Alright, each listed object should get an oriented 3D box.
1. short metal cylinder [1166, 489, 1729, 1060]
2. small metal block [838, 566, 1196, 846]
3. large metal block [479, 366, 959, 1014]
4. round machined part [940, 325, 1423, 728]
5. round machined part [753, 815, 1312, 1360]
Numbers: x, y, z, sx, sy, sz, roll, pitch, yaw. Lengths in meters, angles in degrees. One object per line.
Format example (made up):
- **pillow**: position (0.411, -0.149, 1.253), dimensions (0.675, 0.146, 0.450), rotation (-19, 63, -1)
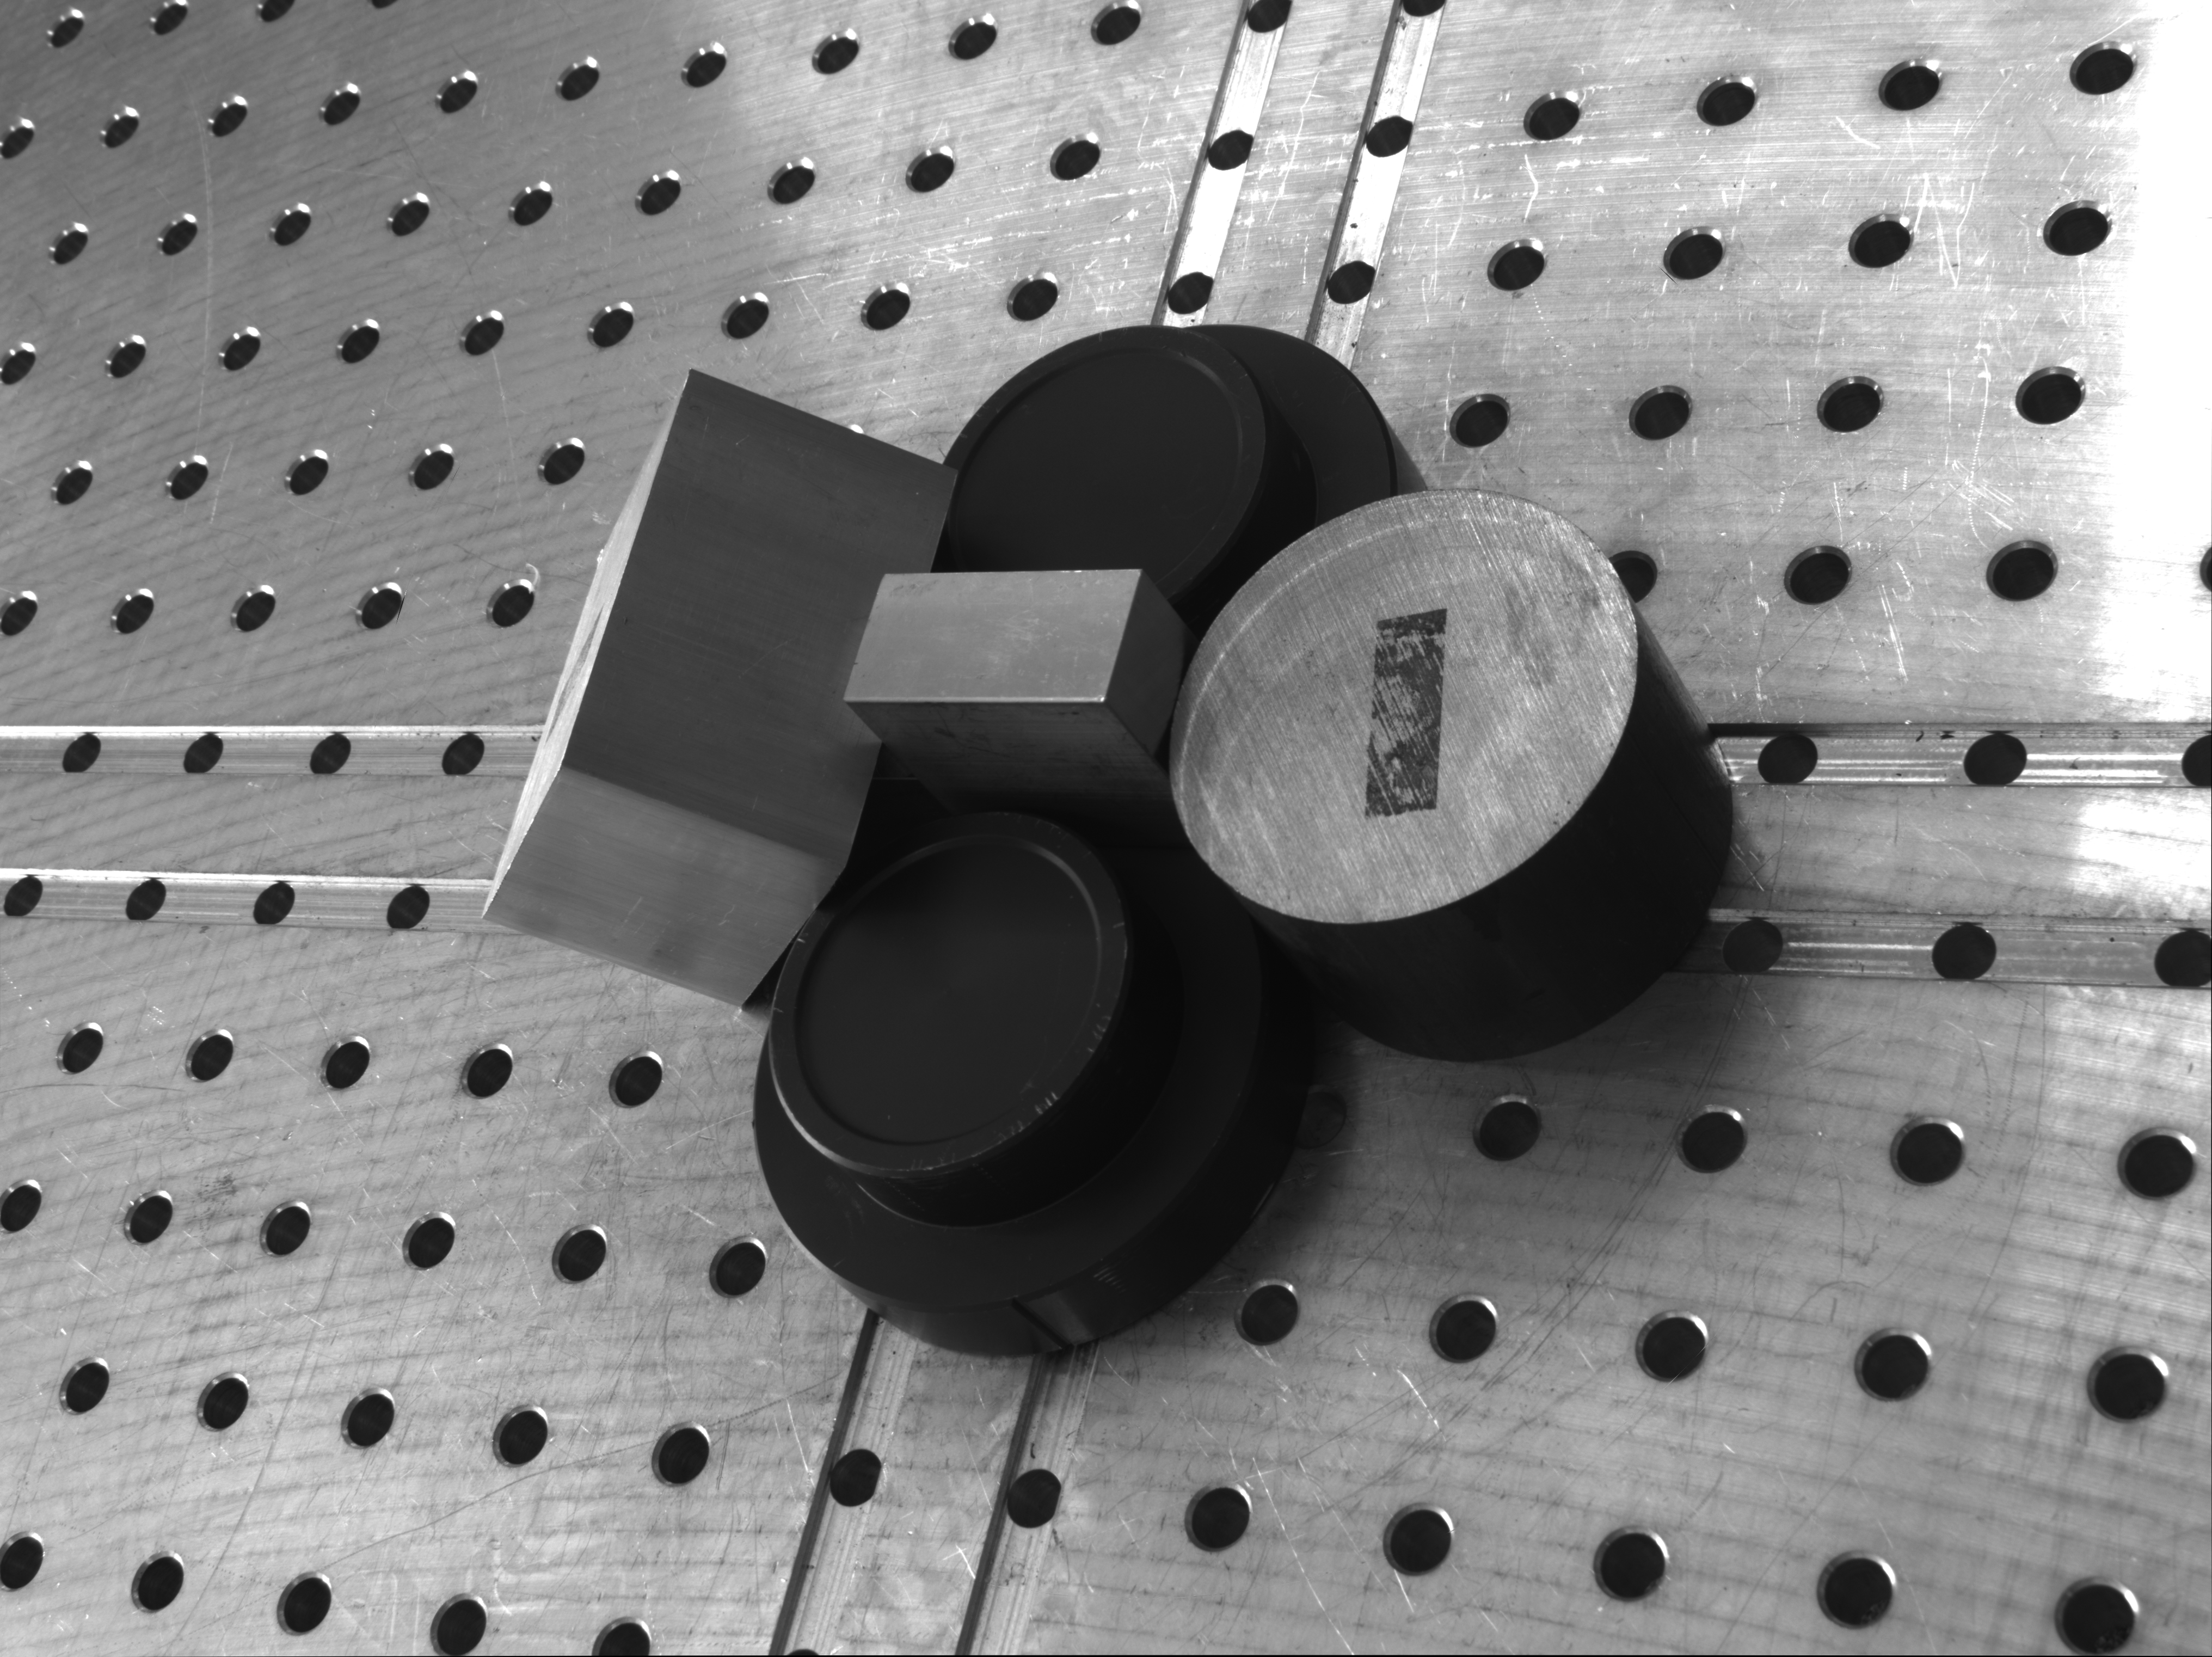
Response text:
- **short metal cylinder**: position (0.057, -0.009, 0.605), dimensions (0.080, 0.050, 0.080), rotation (-14, 56, 21)
- **small metal block**: position (-0.009, -0.020, 0.620), dimensions (0.050, 0.050, 0.025), rotation (1, 62, 29)
- **large metal block**: position (-0.070, -0.023, 0.657), dimensions (0.050, 0.080, 0.080), rotation (19, 64, -12)
- **round machined part**: position (0.007, -0.051, 0.665), dimensions (0.098, 0.042, 0.098), rotation (-13, 56, 21)
- **round machined part**: position (-0.018, 0.037, 0.624), dimensions (0.098, 0.042, 0.098), rotation (-13, 56, 21)
